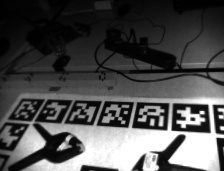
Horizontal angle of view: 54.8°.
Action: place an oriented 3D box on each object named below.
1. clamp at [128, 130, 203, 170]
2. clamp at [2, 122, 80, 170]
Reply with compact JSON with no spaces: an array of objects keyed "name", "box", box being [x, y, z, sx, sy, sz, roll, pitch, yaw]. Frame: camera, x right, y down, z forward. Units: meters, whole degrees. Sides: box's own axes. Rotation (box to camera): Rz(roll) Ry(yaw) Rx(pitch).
[{"name":"clamp","box":[0.117,0.185,0.528,0.165,0.037,0.120,-19,50,-2]},{"name":"clamp","box":[-0.191,0.174,0.626,0.201,0.037,0.165,-2,42,14]}]
